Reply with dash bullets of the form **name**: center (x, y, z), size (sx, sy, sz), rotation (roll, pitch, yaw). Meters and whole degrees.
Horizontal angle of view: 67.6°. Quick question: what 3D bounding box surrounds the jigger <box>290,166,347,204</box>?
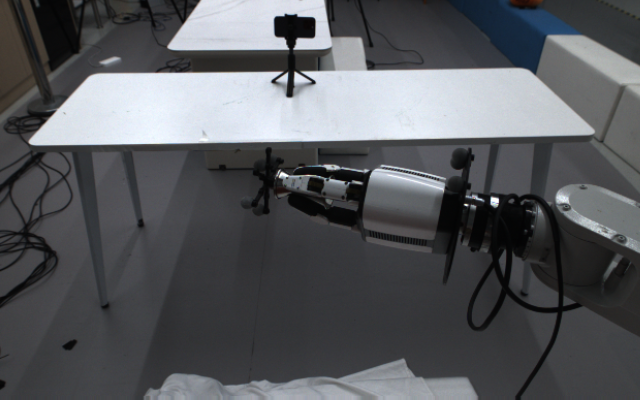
- **jigger**: center (-0.013, -0.019, 0.601), size (0.071, 0.043, 0.043), rotation (10, 35, 16)
